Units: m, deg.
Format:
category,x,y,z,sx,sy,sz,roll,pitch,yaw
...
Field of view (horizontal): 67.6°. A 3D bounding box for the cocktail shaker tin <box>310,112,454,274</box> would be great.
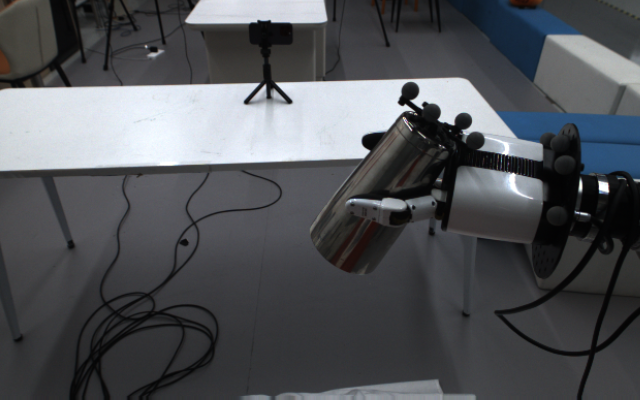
category,x,y,z,sx,sy,sz,roll,pitch,yaw
cocktail shaker tin,0.071,-0.012,0.530,0.093,0.170,0.093,26,32,-17
